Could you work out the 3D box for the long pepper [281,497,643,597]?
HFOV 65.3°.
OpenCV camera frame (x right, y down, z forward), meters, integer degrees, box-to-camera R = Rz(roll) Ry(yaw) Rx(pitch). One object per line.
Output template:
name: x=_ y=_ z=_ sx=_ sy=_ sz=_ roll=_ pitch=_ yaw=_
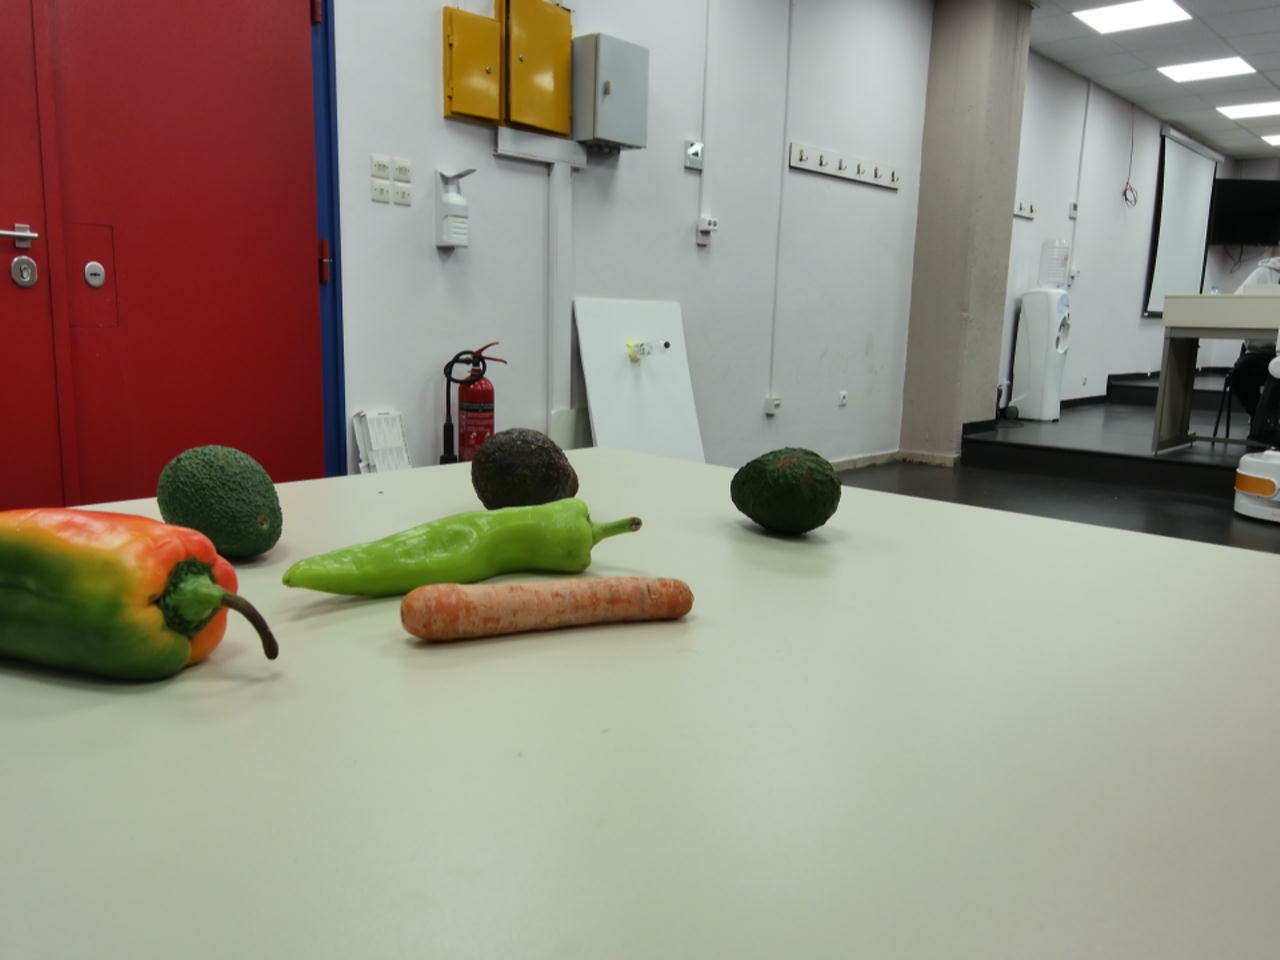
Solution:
long pepper: x=-0.102 y=0.039 z=0.572 sx=0.204 sy=0.045 sz=0.065 roll=-5 pitch=9 yaw=-31
